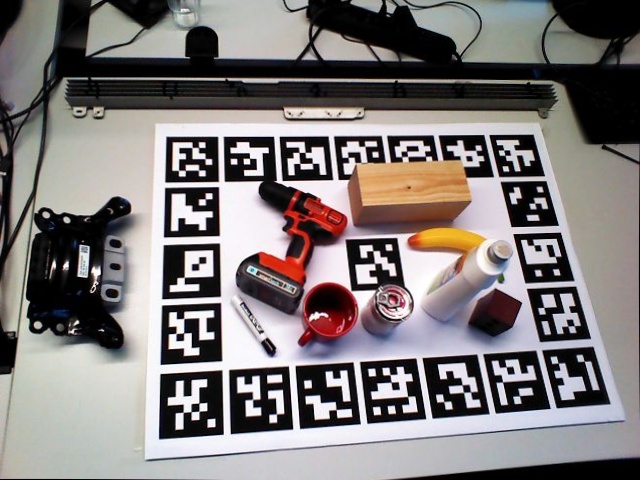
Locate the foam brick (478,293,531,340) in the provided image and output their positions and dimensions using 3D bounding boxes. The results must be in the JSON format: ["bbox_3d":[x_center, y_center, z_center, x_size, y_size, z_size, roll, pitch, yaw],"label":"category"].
[{"bbox_3d":[0.322,0.132,0.902,0.053,0.078,0.051,29,65,8],"label":"foam brick"}]

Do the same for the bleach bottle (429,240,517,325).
[{"bbox_3d":[0.251,0.057,0.828,0.068,0.252,0.102,25,65,4],"label":"bleach bottle"}]

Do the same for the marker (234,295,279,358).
[{"bbox_3d":[-0.106,0.147,0.876,0.019,0.020,0.121,-31,75,-16],"label":"marker"}]

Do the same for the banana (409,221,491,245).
[{"bbox_3d":[0.265,0.002,0.966,0.197,0.039,0.074,14,80,-4],"label":"banana"}]

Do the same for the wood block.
[{"bbox_3d":[0.180,-0.086,0.969,0.206,0.091,0.089,-3,69,-8],"label":"wood block"}]

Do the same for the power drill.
[{"bbox_3d":[-0.048,0.002,0.926,0.185,0.057,0.186,26,65,1],"label":"power drill"}]

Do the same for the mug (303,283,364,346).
[{"bbox_3d":[0.012,0.128,0.861,0.093,0.082,0.116,39,71,7],"label":"mug"}]

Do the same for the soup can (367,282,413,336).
[{"bbox_3d":[0.121,0.115,0.863,0.068,0.102,0.067,4,63,-7],"label":"soup can"}]
